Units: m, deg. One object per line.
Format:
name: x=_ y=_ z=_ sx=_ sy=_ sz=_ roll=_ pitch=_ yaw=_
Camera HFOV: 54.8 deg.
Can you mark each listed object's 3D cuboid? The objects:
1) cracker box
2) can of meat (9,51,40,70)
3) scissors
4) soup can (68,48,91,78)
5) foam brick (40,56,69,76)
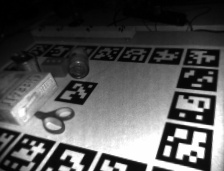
cracker box: x=-0.306 y=0.024 z=0.639 sx=0.211 sy=0.072 sz=0.164 roll=-1 pitch=41 yaw=22
can of meat: x=-0.300 y=-0.069 z=0.756 sx=0.100 sy=0.084 sz=0.058 roll=18 pitch=51 yaw=33
scissors: x=-0.207 y=0.081 z=0.592 sx=0.201 sy=0.016 sz=0.088 roll=2 pitch=43 yaw=20
soup can: x=-0.114 y=-0.079 z=0.739 sx=0.068 sy=0.068 sz=0.101 roll=-20 pitch=35 yaw=-4
foam brick: x=-0.198 y=-0.067 z=0.753 sx=0.077 sy=0.052 sz=0.052 roll=-2 pitch=42 yaw=16
